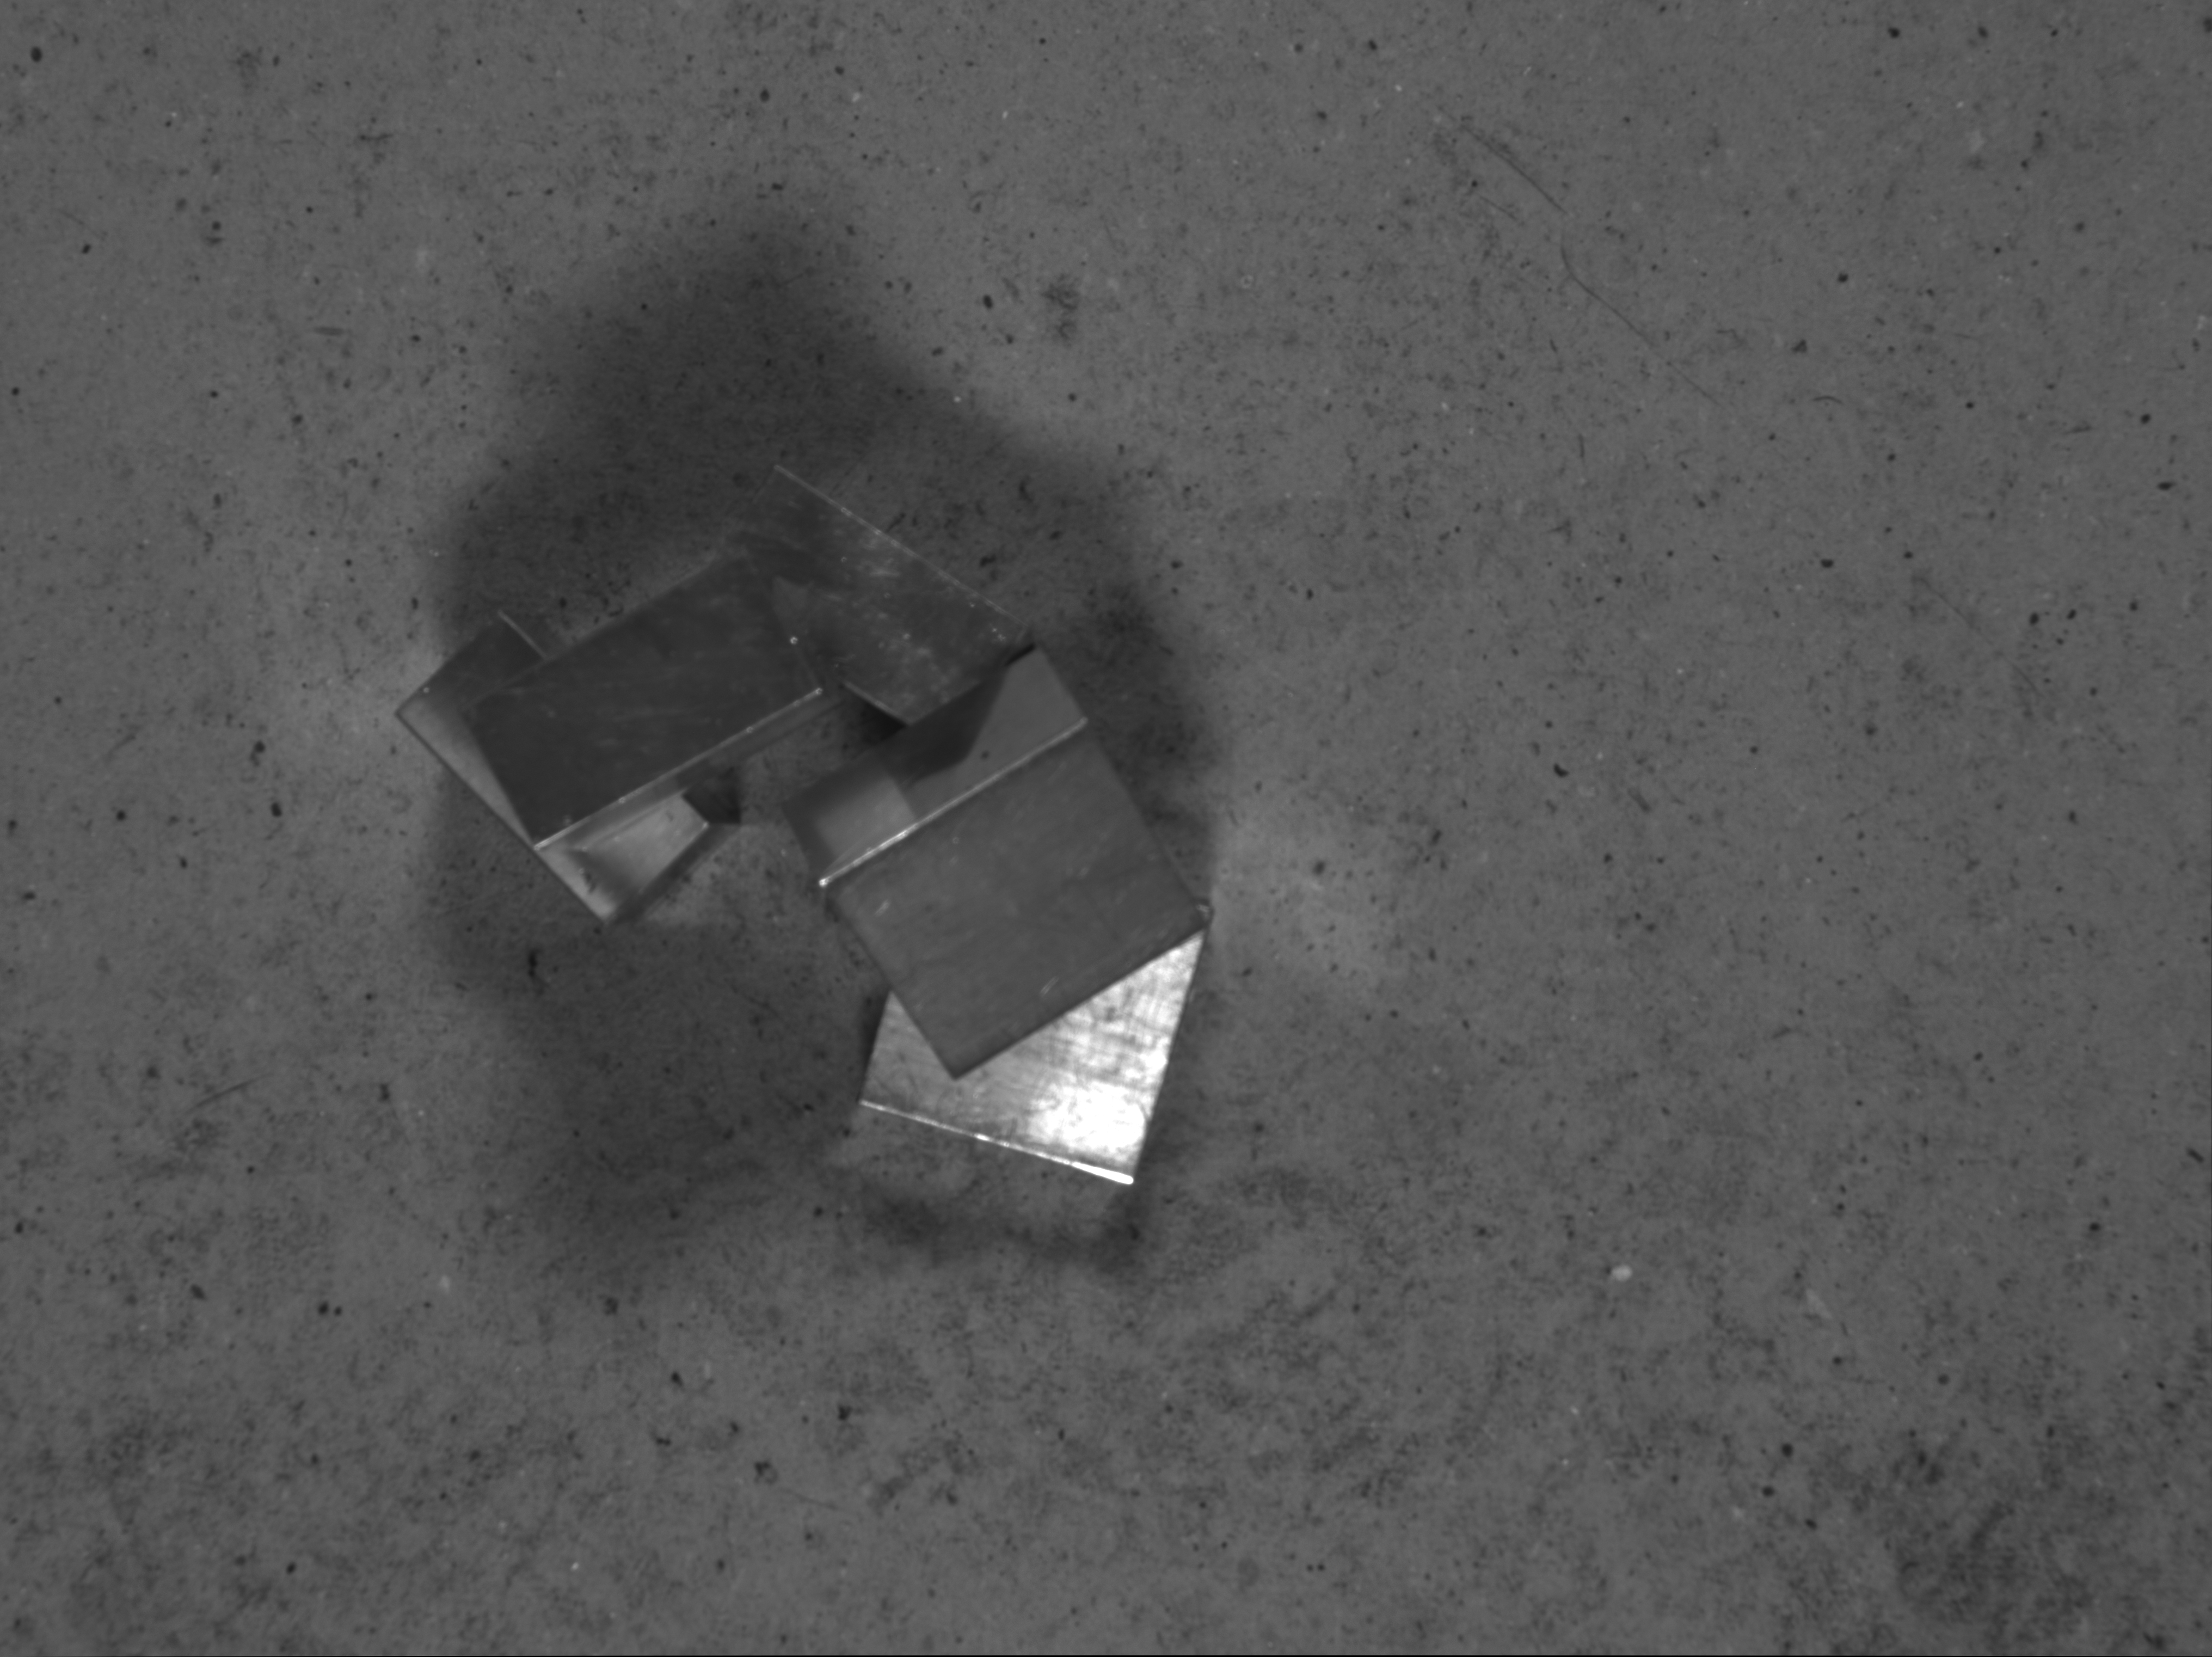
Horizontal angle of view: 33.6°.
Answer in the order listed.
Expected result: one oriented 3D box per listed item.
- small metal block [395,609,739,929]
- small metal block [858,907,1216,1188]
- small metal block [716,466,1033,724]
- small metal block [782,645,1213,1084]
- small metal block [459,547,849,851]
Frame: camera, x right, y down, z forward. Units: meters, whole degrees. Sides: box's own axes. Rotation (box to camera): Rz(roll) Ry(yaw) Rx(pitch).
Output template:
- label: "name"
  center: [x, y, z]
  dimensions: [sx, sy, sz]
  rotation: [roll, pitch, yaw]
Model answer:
- label: "small metal block"
  center: [-0.092, -0.010, 0.632]
  dimensions: [0.025, 0.050, 0.050]
  rotation: [-45, 90, 0]
- label: "small metal block"
  center: [-0.012, 0.031, 0.645]
  dimensions: [0.050, 0.025, 0.050]
  rotation: [16, 90, 0]
- label: "small metal block"
  center: [-0.040, -0.036, 0.633]
  dimensions: [0.050, 0.050, 0.025]
  rotation: [32, 90, 0]
- label: "small metal block"
  center: [-0.018, 0.006, 0.608]
  dimensions: [0.050, 0.025, 0.050]
  rotation: [-31, 127, 0]
- label: "small metal block"
  center: [-0.071, -0.020, 0.582]
  dimensions: [0.050, 0.050, 0.025]
  rotation: [-29, 90, 0]
